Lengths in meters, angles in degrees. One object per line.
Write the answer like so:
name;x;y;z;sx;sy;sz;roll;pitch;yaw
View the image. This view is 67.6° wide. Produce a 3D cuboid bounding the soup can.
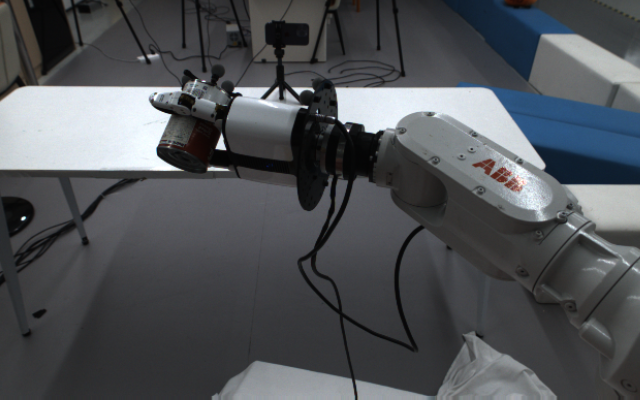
soup can;-0.160;-0.094;0.623;0.067;0.067;0.101;12;70;14
